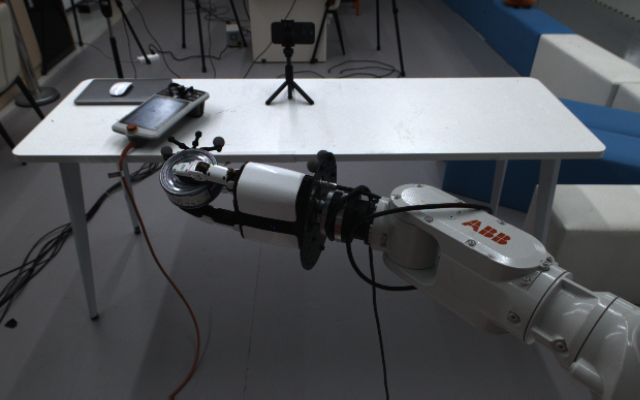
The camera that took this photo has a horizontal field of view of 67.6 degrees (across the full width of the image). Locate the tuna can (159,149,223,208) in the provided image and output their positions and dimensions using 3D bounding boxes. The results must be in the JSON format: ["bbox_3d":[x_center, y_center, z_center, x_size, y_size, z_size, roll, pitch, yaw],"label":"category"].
[{"bbox_3d":[-0.182,-0.032,0.692,0.085,0.034,0.085,-3,58,5],"label":"tuna can"}]
